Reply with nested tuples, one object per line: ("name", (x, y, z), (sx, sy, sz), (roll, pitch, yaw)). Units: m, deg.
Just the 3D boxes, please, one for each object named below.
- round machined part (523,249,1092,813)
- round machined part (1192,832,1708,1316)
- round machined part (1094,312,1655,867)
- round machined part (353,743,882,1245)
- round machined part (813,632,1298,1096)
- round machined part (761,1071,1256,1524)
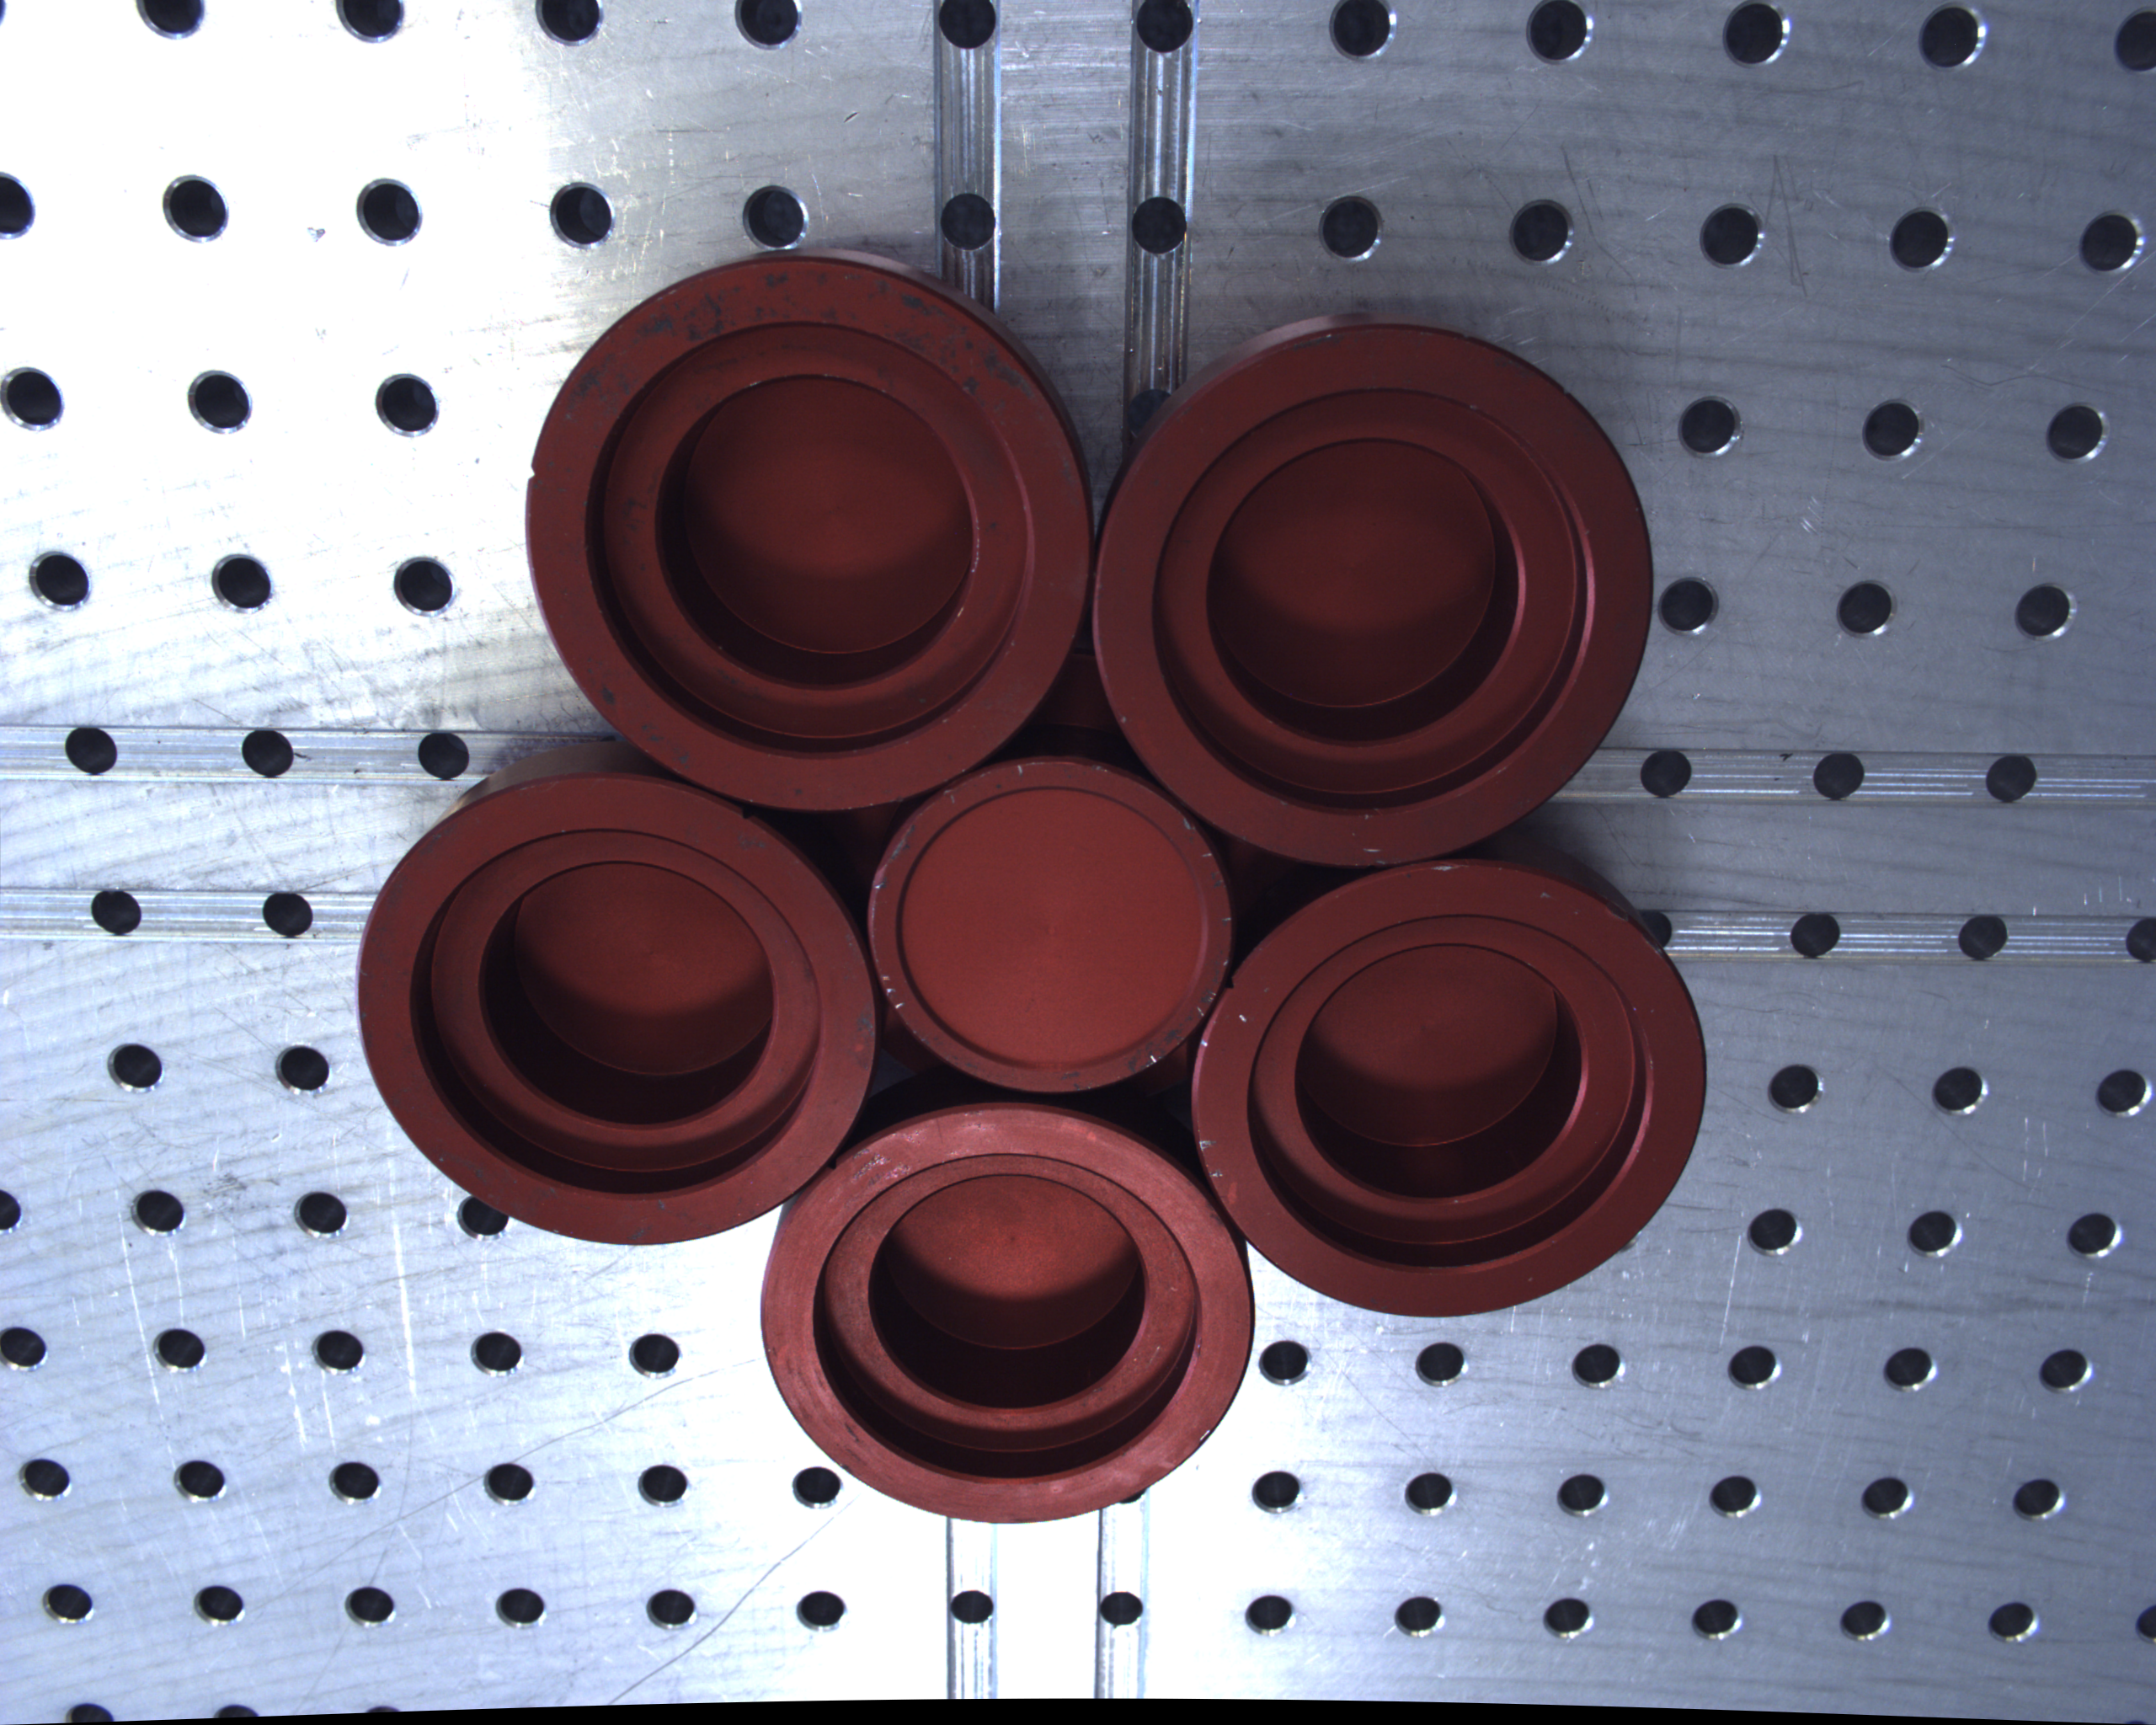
("round machined part", (-0.047, -0.062, 0.381), (0.099, 0.042, 0.097), (0, 110, 0))
("round machined part", (0.071, 0.038, 0.419), (0.099, 0.042, 0.097), (0, 110, 0))
("round machined part", (0.052, -0.052, 0.385), (0.099, 0.042, 0.097), (0, 110, 0))
("round machined part", (-0.087, 0.023, 0.411), (0.099, 0.042, 0.097), (0, 110, 0))
("round machined part", (-0.005, 0.006, 0.406), (0.099, 0.042, 0.097), (0, 110, 0))
("round machined part", (-0.014, 0.085, 0.435), (0.099, 0.042, 0.097), (0, 110, 0))
